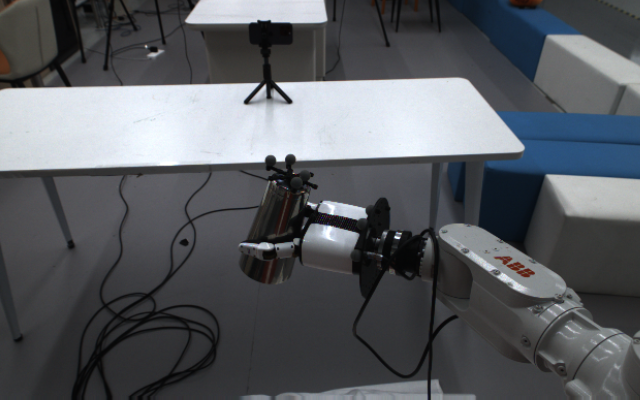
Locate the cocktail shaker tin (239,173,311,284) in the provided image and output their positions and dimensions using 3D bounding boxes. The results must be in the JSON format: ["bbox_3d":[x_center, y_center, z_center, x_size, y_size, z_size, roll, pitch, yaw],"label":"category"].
[{"bbox_3d":[-0.069,0.040,0.789,0.093,0.170,0.093,15,27,-8],"label":"cocktail shaker tin"}]
